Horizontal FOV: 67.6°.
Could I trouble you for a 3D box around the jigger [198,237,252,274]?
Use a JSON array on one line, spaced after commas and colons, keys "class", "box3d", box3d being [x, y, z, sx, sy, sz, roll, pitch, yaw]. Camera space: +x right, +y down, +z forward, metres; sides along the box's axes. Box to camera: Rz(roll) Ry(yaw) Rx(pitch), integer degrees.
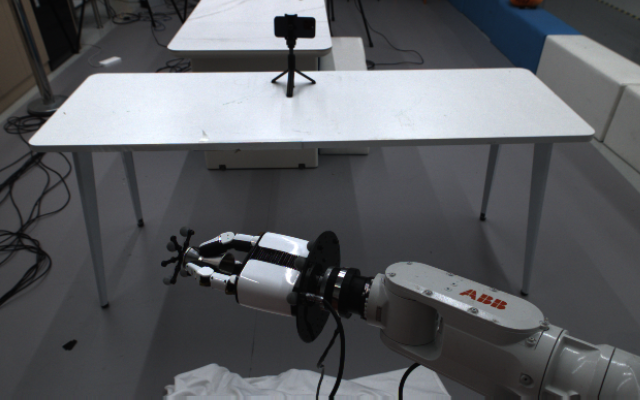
[{"class": "jigger", "box3d": [-0.167, 0.094, 0.745, 0.071, 0.043, 0.043, 9, 35, 22]}]
